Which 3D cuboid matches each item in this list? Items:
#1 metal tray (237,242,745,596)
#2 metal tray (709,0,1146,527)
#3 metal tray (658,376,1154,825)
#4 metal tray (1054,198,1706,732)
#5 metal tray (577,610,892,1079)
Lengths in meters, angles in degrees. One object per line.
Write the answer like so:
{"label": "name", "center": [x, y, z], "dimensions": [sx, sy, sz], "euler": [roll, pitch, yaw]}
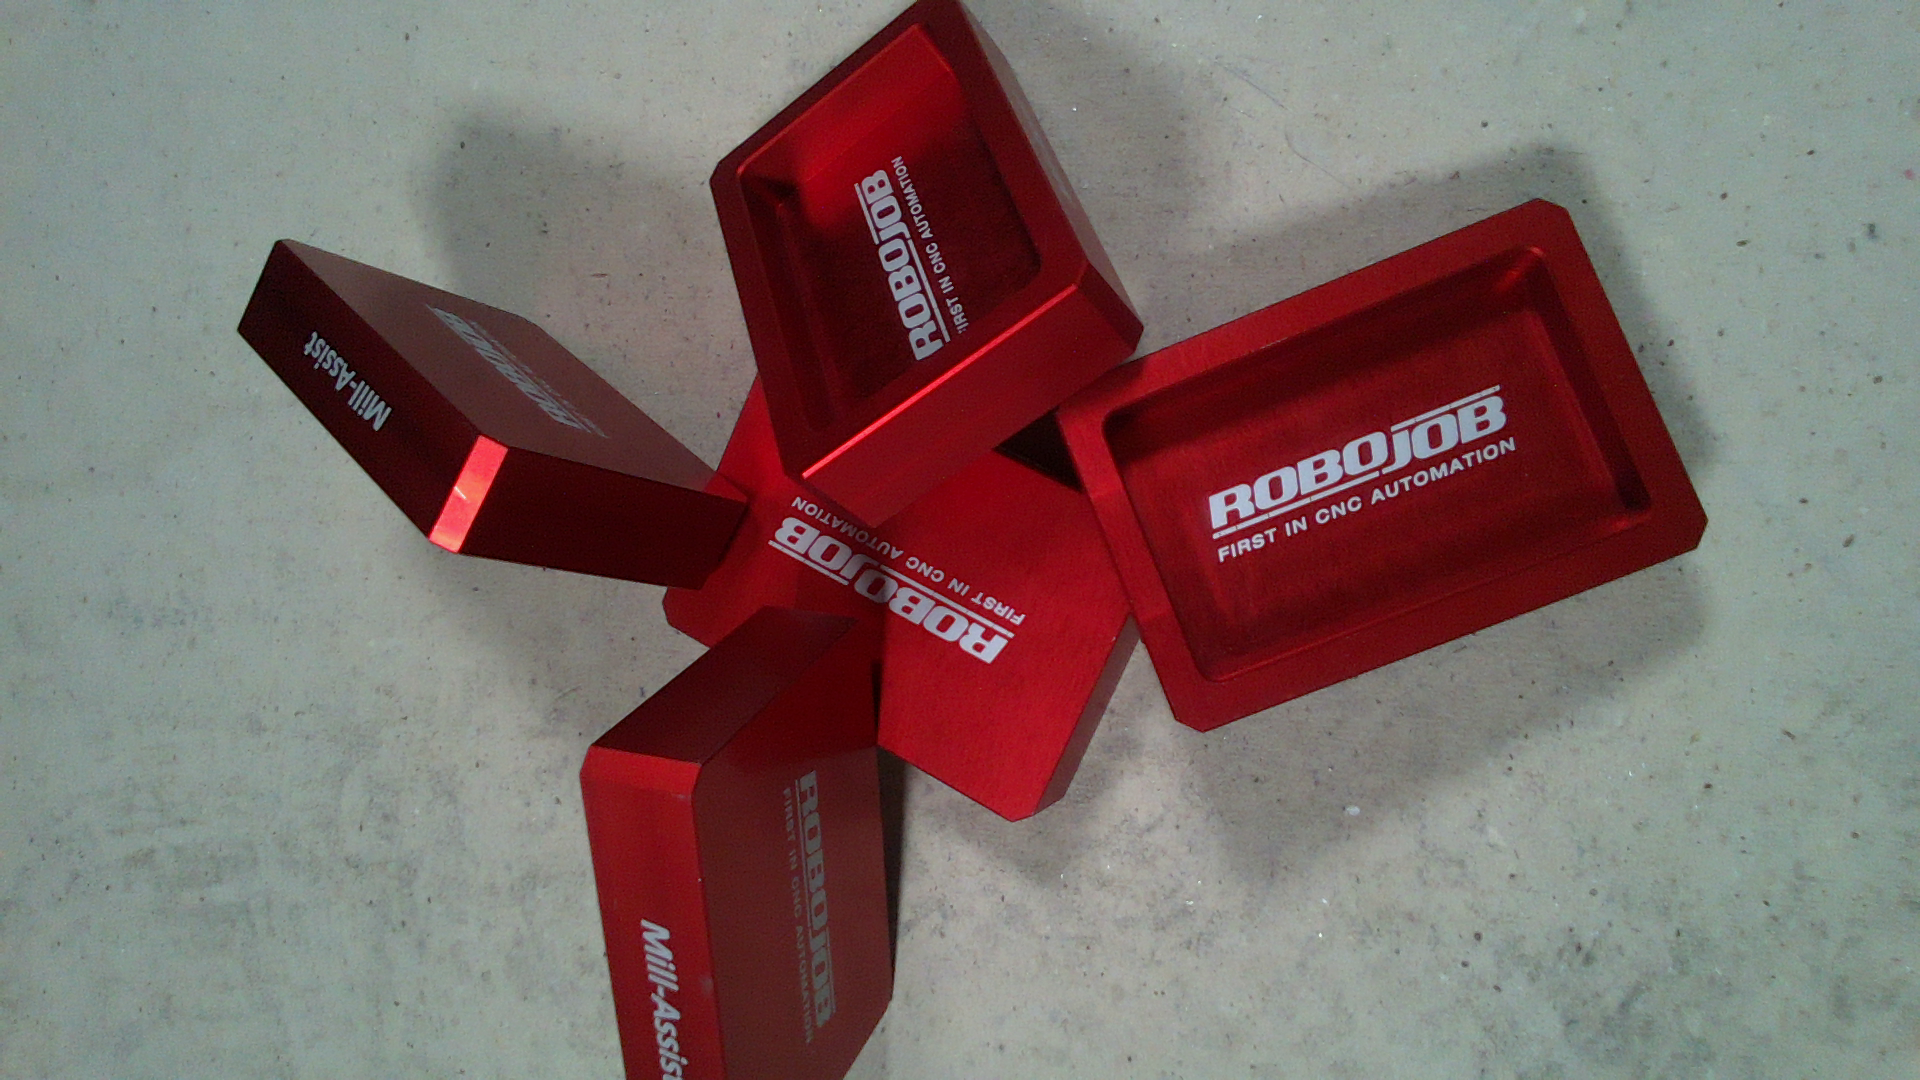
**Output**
{"label": "metal tray", "center": [-0.134, -0.035, 0.393], "dimensions": [0.130, 0.090, 0.030], "euler": [37, 103, 33]}
{"label": "metal tray", "center": [-0.015, -0.078, 0.367], "dimensions": [0.090, 0.030, 0.130], "euler": [-33, 50, 17]}
{"label": "metal tray", "center": [-0.014, 0.011, 0.398], "dimensions": [0.130, 0.030, 0.090], "euler": [27, 99, 18]}
{"label": "metal tray", "center": [0.099, -0.017, 0.340], "dimensions": [0.130, 0.030, 0.090], "euler": [-21, 83, 4]}
{"label": "metal tray", "center": [-0.053, 0.095, 0.360], "dimensions": [0.030, 0.090, 0.130], "euler": [6, 113, 21]}
